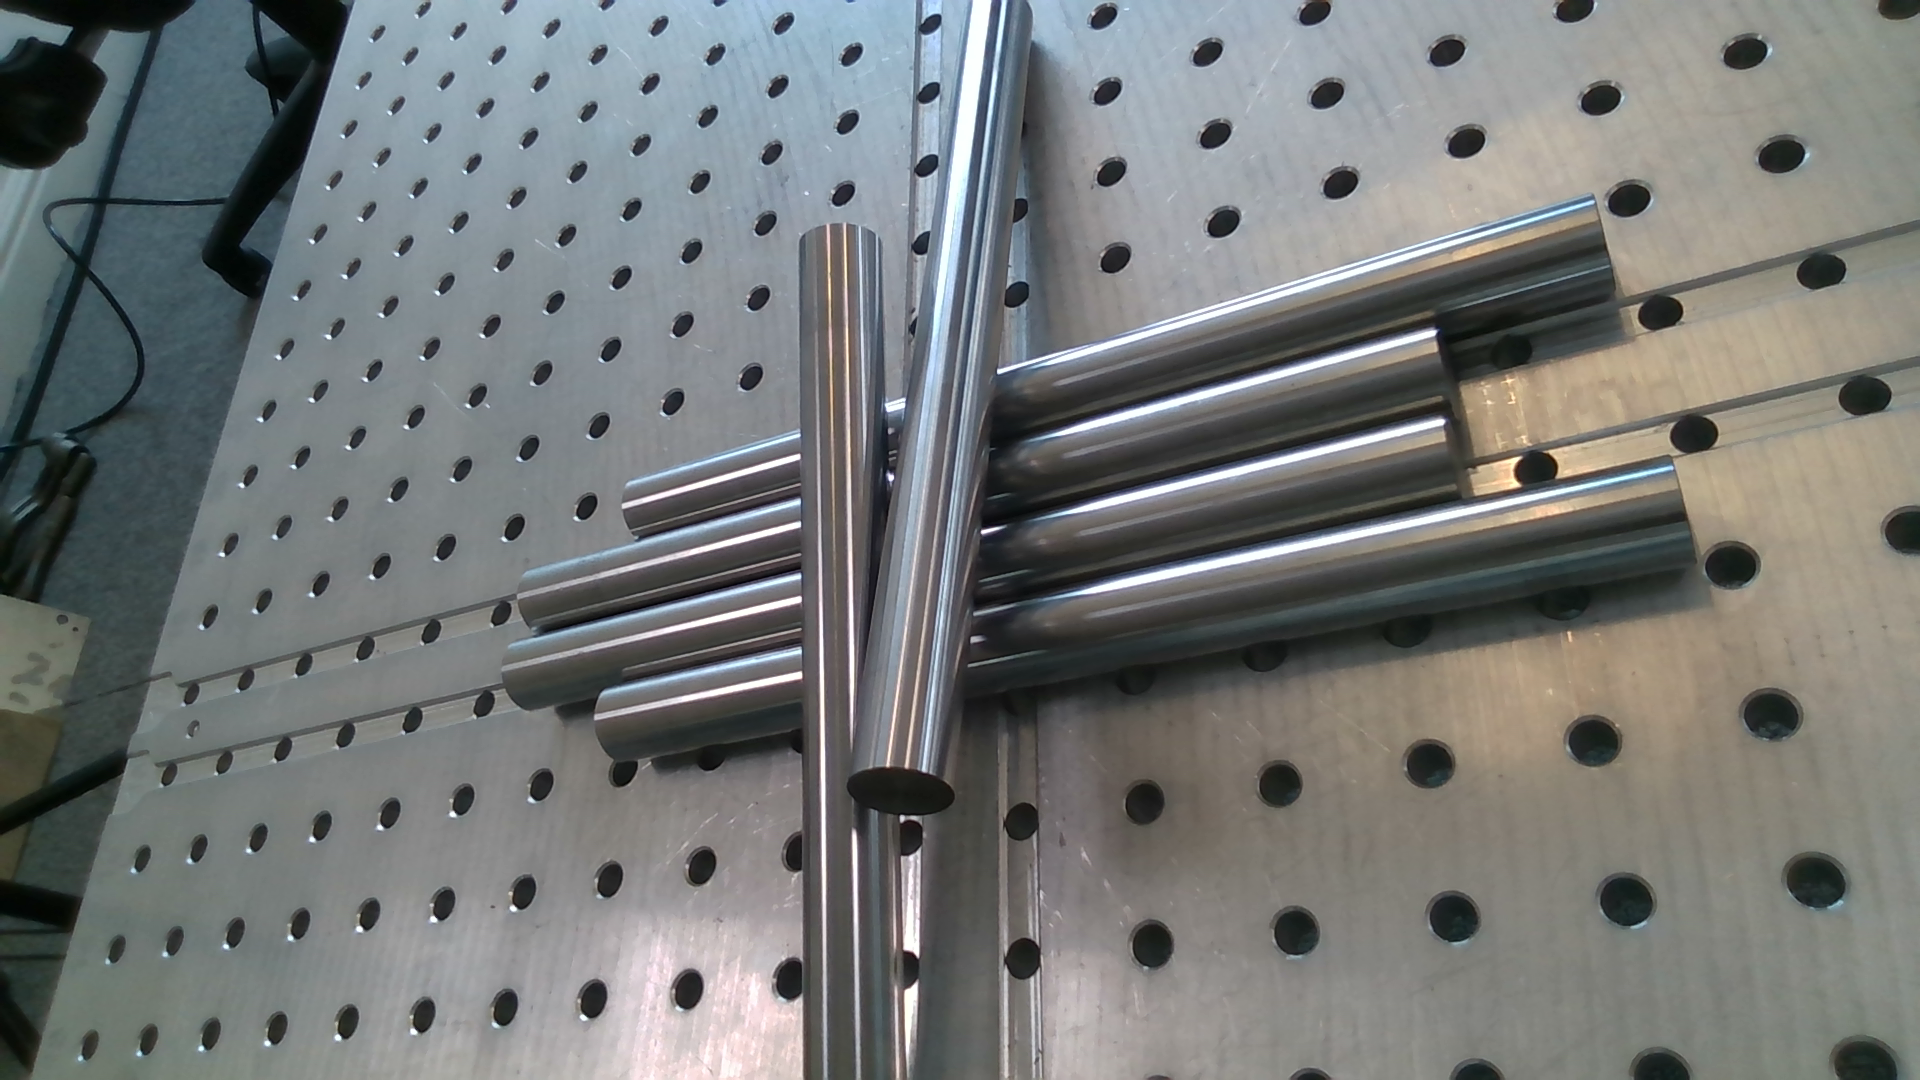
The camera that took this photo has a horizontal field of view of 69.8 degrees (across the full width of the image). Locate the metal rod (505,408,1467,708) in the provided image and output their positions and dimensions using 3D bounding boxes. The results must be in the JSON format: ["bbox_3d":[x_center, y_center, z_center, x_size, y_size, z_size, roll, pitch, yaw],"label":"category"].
[{"bbox_3d":[-0.011,0.012,0.398,0.300,0.025,0.025,-14,59,25],"label":"metal rod"}]

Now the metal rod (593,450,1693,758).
[{"bbox_3d":[0.026,0.024,0.366,0.300,0.025,0.025,-14,59,25],"label":"metal rod"}]

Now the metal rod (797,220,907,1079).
[{"bbox_3d":[-0.029,0.053,0.359,0.025,0.025,0.299,-13,68,26],"label":"metal rod"}]

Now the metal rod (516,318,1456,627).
[{"bbox_3d":[-0.011,-0.012,0.408,0.300,0.025,0.025,-13,59,26],"label":"metal rod"}]

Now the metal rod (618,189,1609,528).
[{"bbox_3d":[0.025,-0.042,0.402,0.300,0.025,0.025,-14,59,25],"label":"metal rod"}]

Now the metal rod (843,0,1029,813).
[{"bbox_3d":[-0.001,-0.064,0.400,0.025,0.025,0.299,-13,50,25],"label":"metal rod"}]
